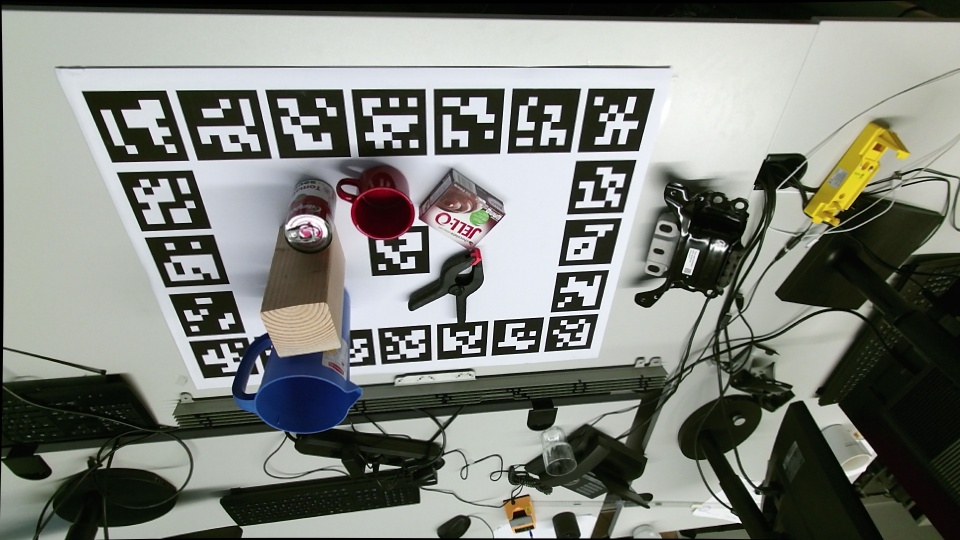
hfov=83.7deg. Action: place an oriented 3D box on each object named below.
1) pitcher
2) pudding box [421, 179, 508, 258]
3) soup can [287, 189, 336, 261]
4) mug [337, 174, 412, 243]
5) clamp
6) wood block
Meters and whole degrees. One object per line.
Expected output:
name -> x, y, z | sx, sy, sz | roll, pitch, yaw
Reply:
pitcher -> -0.290, 0.142, 0.865 | 0.189, 0.241, 0.133 | -6, 130, -10
pudding box -> -0.025, -0.083, 0.875 | 0.114, 0.038, 0.090 | 29, 114, -30
soup can -> -0.251, -0.069, 0.796 | 0.068, 0.101, 0.068 | -5, 125, -8
mug -> -0.160, -0.097, 0.806 | 0.117, 0.081, 0.093 | 28, 120, -29
clamp -> -0.053, 0.043, 0.973 | 0.122, 0.036, 0.165 | 25, 119, -18
wood block -> -0.264, 0.035, 0.807 | 0.090, 0.205, 0.091 | -4, 128, -4
